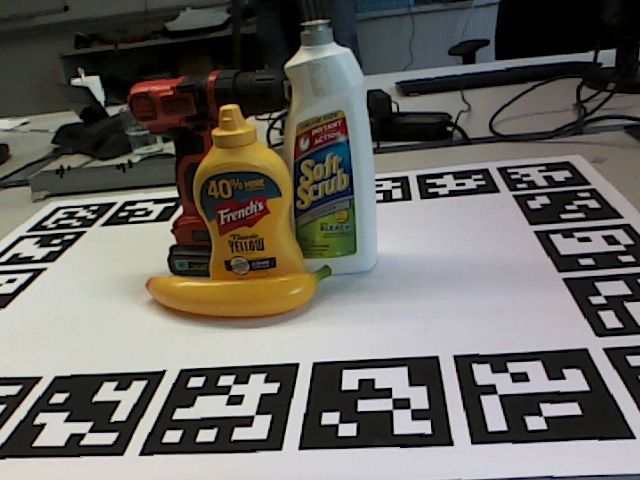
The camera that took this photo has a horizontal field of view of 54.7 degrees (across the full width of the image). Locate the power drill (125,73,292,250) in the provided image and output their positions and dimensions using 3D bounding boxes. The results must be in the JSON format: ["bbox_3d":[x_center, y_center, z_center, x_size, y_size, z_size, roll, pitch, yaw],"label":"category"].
[{"bbox_3d":[-0.109,-0.083,0.660,0.185,0.186,0.057,3,26,18],"label":"power drill"}]

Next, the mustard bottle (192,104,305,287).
[{"bbox_3d":[-0.072,-0.036,0.600,0.096,0.191,0.058,-3,25,7],"label":"mustard bottle"}]

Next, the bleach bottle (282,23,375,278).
[{"bbox_3d":[-0.001,-0.088,0.632,0.103,0.250,0.068,-3,20,10],"label":"bleach bottle"}]

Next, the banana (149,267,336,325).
[{"bbox_3d":[-0.085,0.055,0.612,0.198,0.039,0.074,-4,27,13],"label":"banana"}]
